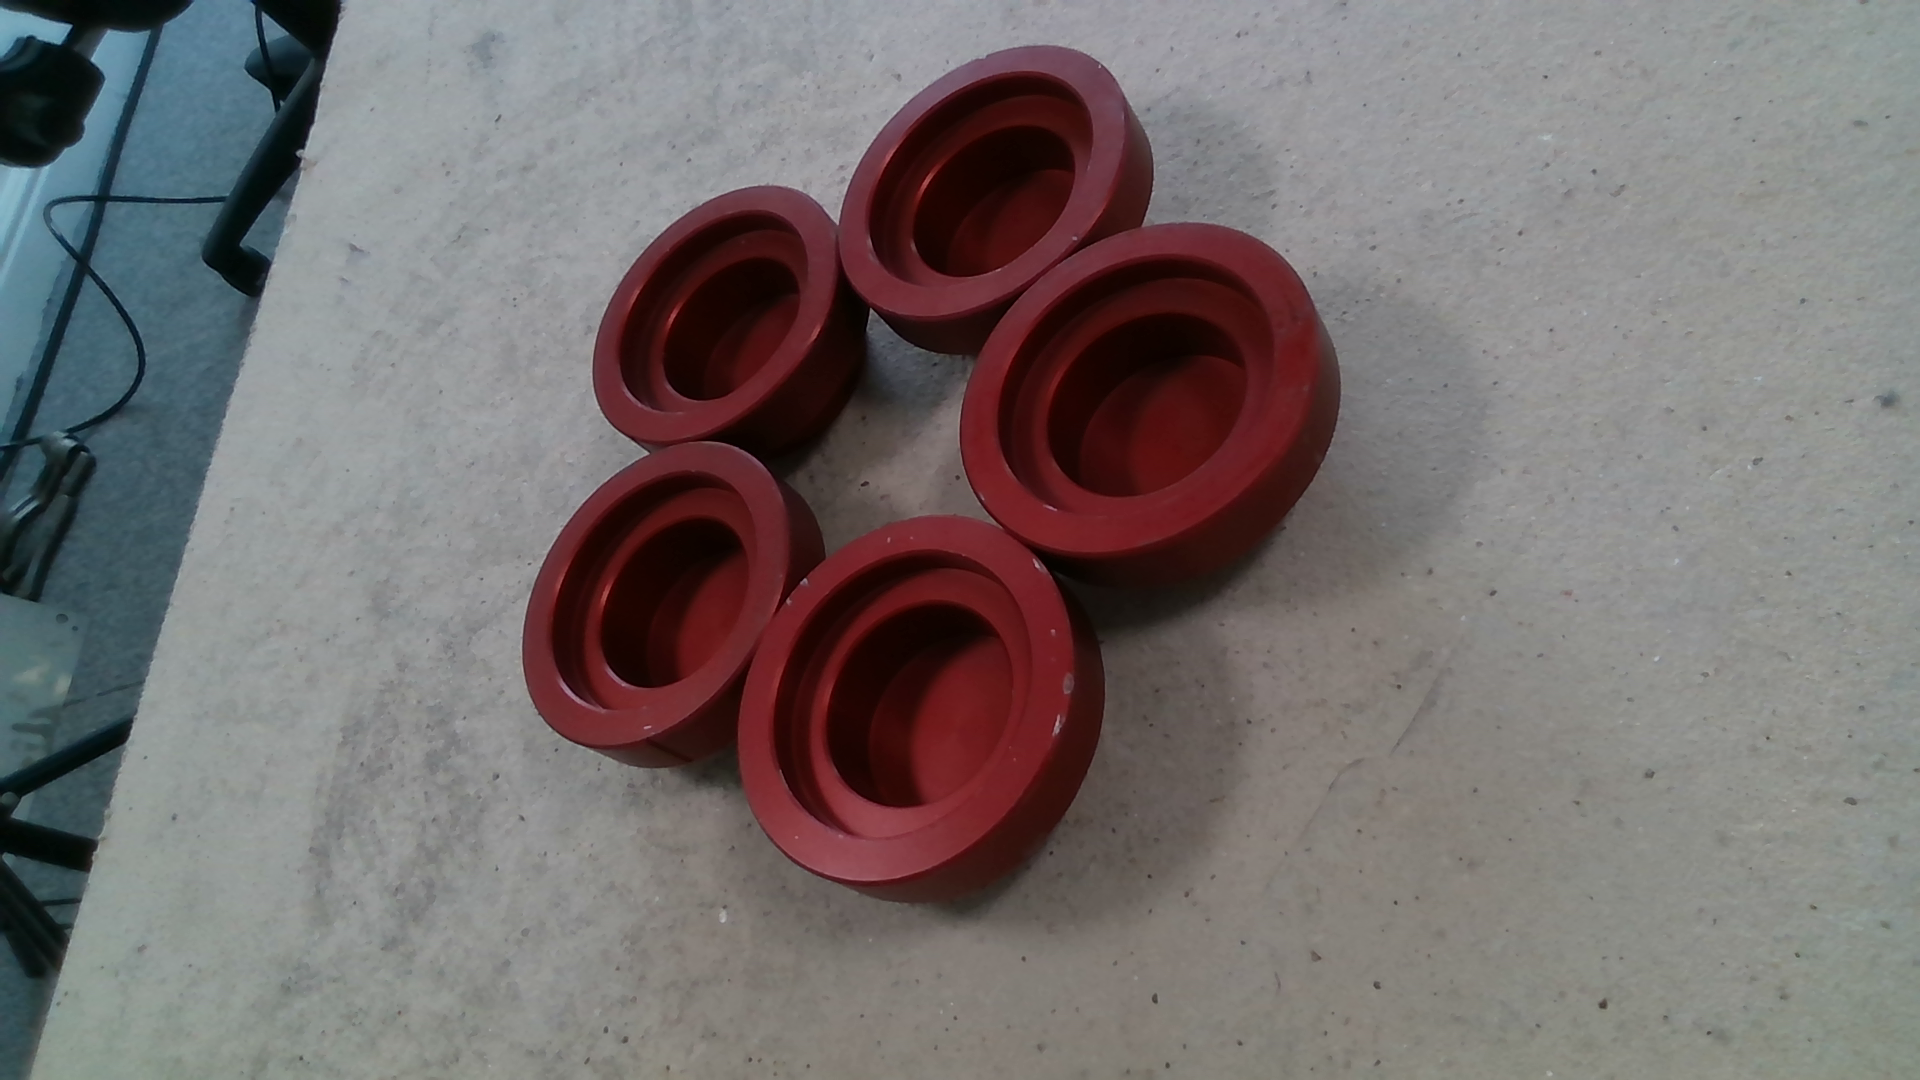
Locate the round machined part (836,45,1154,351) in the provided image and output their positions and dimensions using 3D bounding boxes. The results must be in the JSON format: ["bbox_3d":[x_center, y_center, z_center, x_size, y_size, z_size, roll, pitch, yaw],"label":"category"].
[{"bbox_3d":[0.014,-0.100,0.426,0.098,0.042,0.098,-13,60,24],"label":"round machined part"}]

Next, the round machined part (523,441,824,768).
[{"bbox_3d":[-0.082,0.022,0.421,0.098,0.042,0.098,-13,60,25],"label":"round machined part"}]

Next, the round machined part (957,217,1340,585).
[{"bbox_3d":[0.052,-0.033,0.367,0.098,0.042,0.098,-13,61,24],"label":"round machined part"}]

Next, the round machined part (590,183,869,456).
[{"bbox_3d":[-0.072,-0.067,0.461,0.098,0.042,0.098,-13,61,24],"label":"round machined part"}]

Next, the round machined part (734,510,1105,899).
[{"bbox_3d":[-0.007,0.045,0.362,0.098,0.042,0.098,-13,61,24],"label":"round machined part"}]
